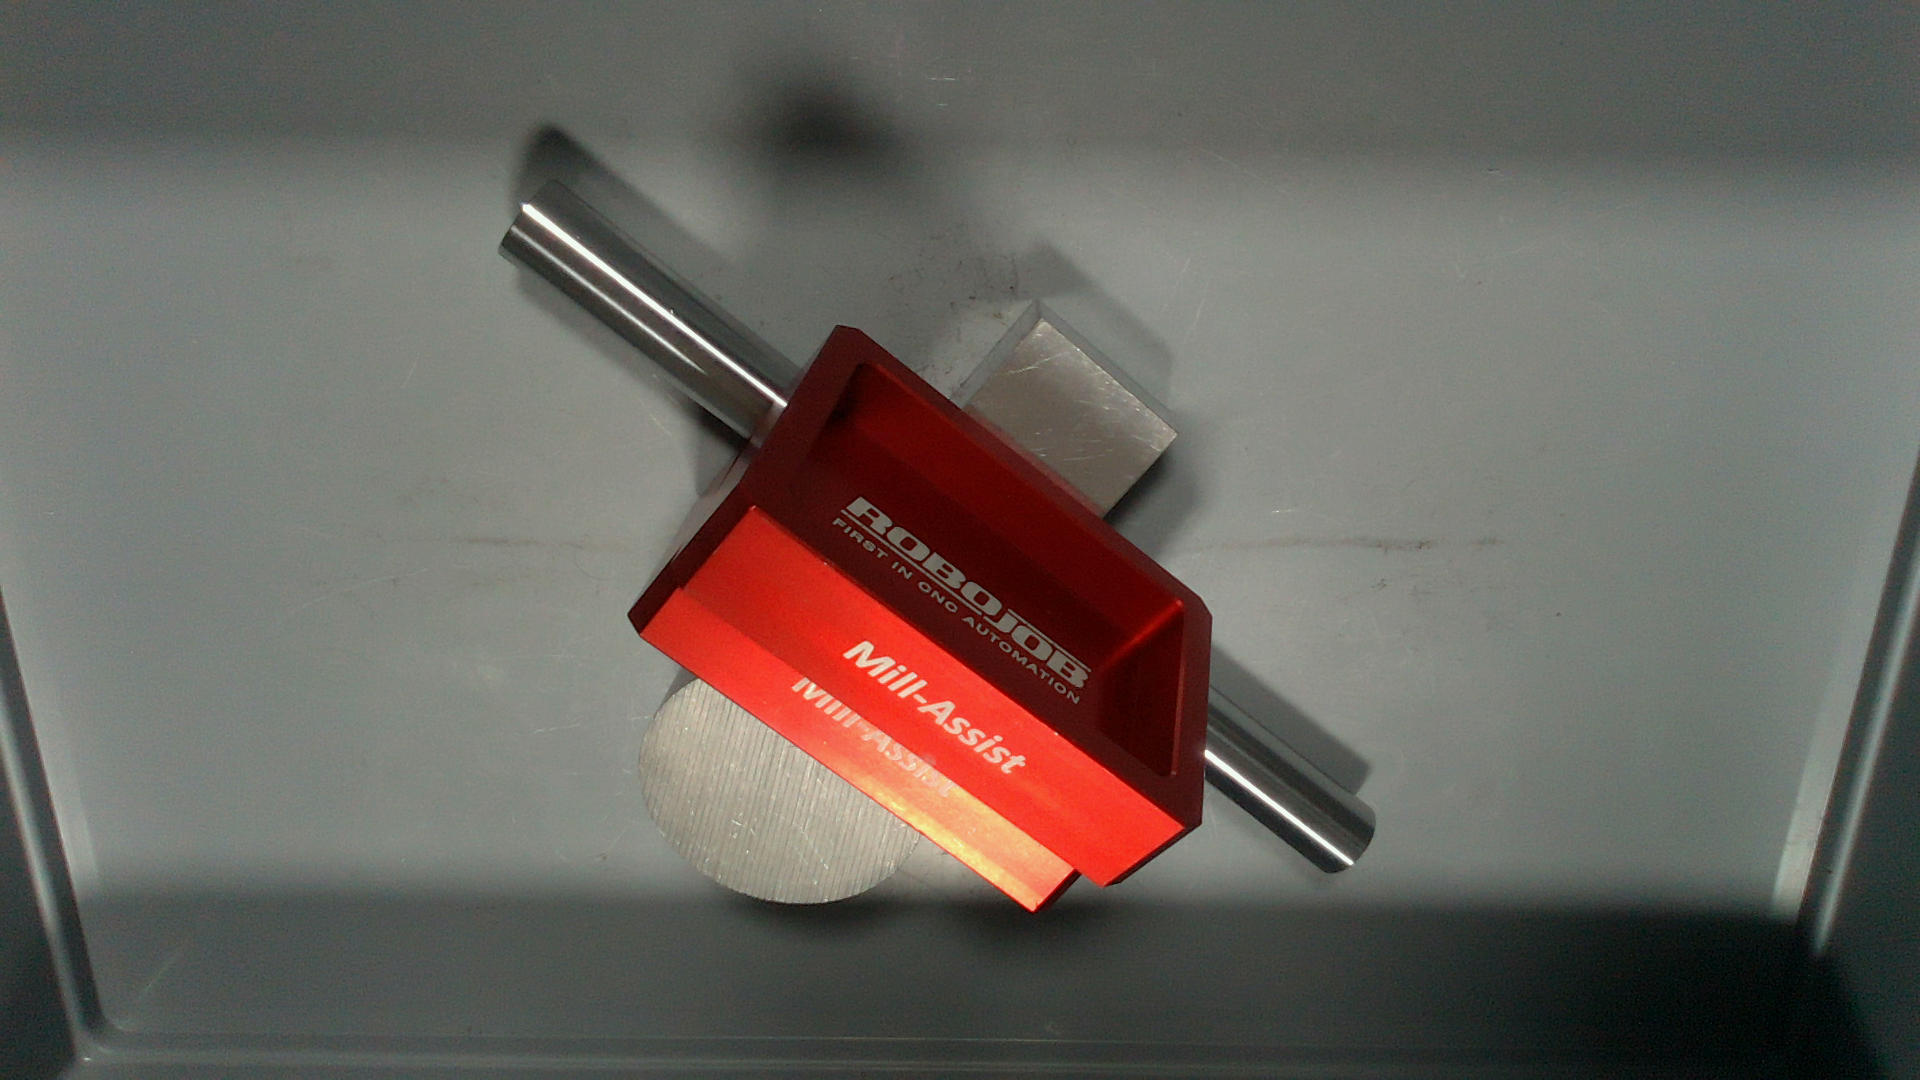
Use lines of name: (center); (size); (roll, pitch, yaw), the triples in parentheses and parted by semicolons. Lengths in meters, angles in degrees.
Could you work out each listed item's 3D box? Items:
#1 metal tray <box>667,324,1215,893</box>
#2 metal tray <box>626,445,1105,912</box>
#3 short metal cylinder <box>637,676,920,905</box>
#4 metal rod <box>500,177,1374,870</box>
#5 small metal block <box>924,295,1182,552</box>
metal tray: (0.003, 0.014, 0.336); (0.130, 0.090, 0.030); (37, 123, -13)
metal tray: (-0.019, 0.032, 0.370); (0.130, 0.090, 0.030); (37, 106, -13)
short metal cylinder: (-0.046, 0.057, 0.394); (0.080, 0.050, 0.080); (2, 117, 5)
metal rod: (0.003, 0.003, 0.395); (0.300, 0.025, 0.025); (37, 106, -13)
small metal block: (0.025, -0.030, 0.382); (0.050, 0.025, 0.050); (39, 106, -13)
